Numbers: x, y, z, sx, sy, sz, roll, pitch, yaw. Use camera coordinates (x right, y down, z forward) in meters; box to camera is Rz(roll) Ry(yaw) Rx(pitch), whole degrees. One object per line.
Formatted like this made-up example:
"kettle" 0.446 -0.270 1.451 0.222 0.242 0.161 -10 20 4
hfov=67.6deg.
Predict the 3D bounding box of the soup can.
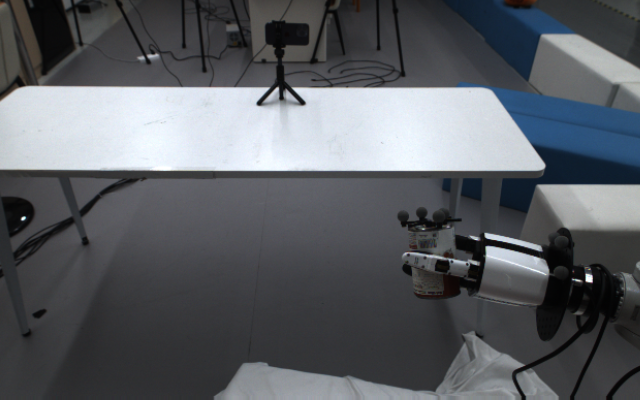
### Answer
"soup can" 0.167 0.086 0.705 0.067 0.101 0.067 -6 3 0
